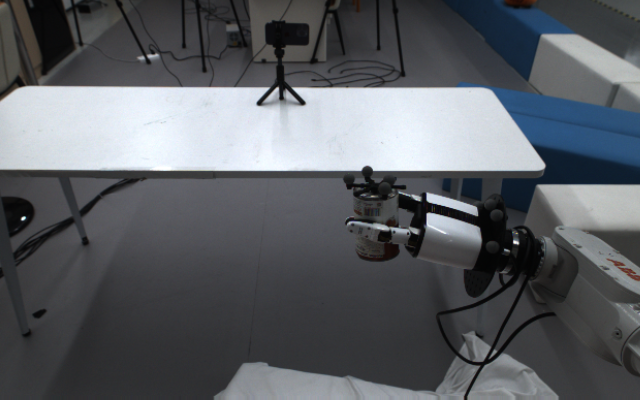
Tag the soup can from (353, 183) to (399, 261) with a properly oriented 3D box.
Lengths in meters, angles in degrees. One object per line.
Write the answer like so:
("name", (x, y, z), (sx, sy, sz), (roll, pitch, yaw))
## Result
("soup can", (0.085, 0.032, 0.725), (0.067, 0.101, 0.067), (-4, 21, 1))
